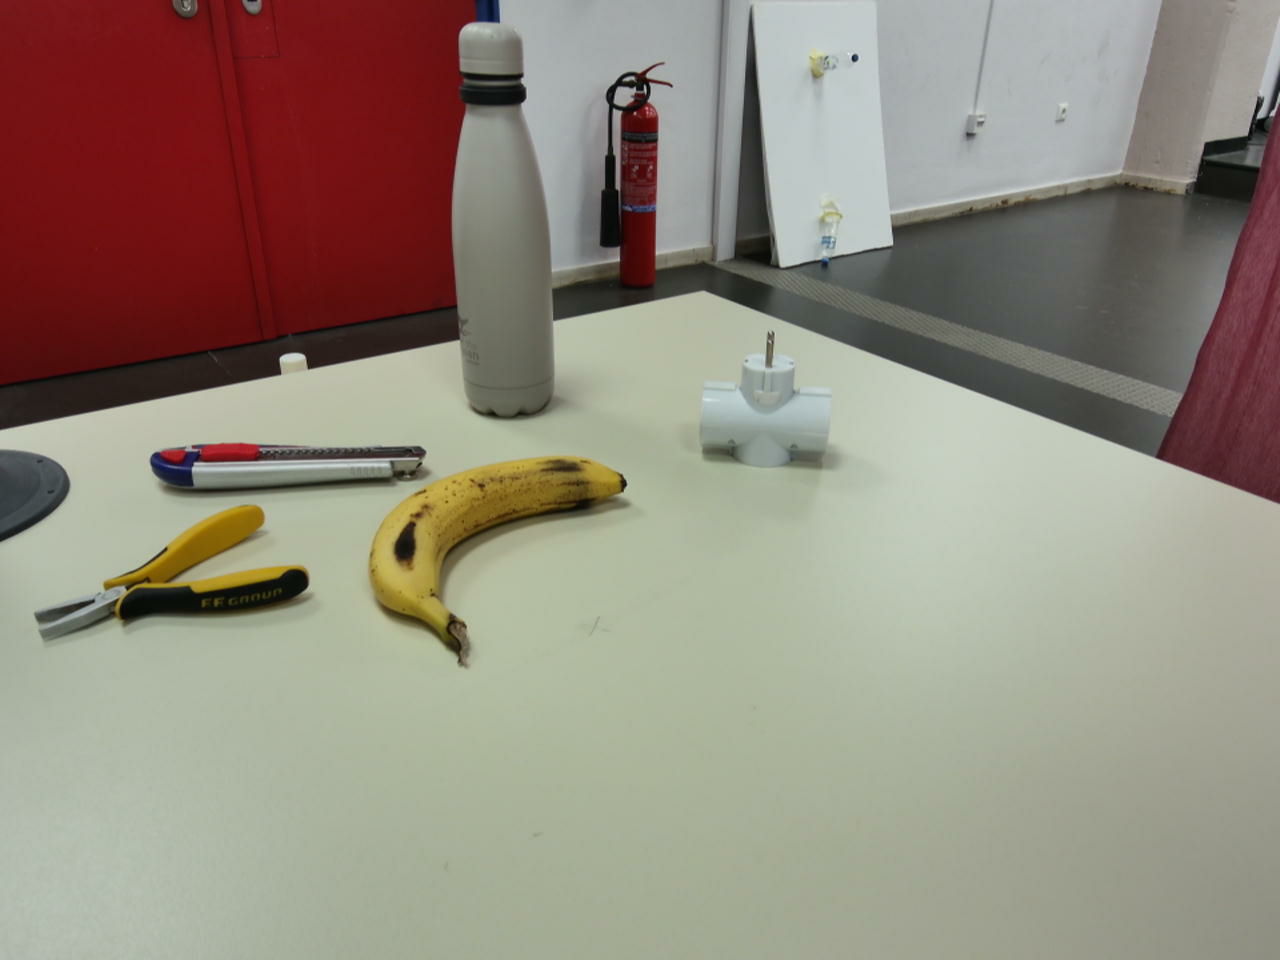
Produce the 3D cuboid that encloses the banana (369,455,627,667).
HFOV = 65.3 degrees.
[{"bbox_3d":[-0.088,0.026,0.577,0.097,0.038,0.186,13,28,23],"label":"banana"}]
